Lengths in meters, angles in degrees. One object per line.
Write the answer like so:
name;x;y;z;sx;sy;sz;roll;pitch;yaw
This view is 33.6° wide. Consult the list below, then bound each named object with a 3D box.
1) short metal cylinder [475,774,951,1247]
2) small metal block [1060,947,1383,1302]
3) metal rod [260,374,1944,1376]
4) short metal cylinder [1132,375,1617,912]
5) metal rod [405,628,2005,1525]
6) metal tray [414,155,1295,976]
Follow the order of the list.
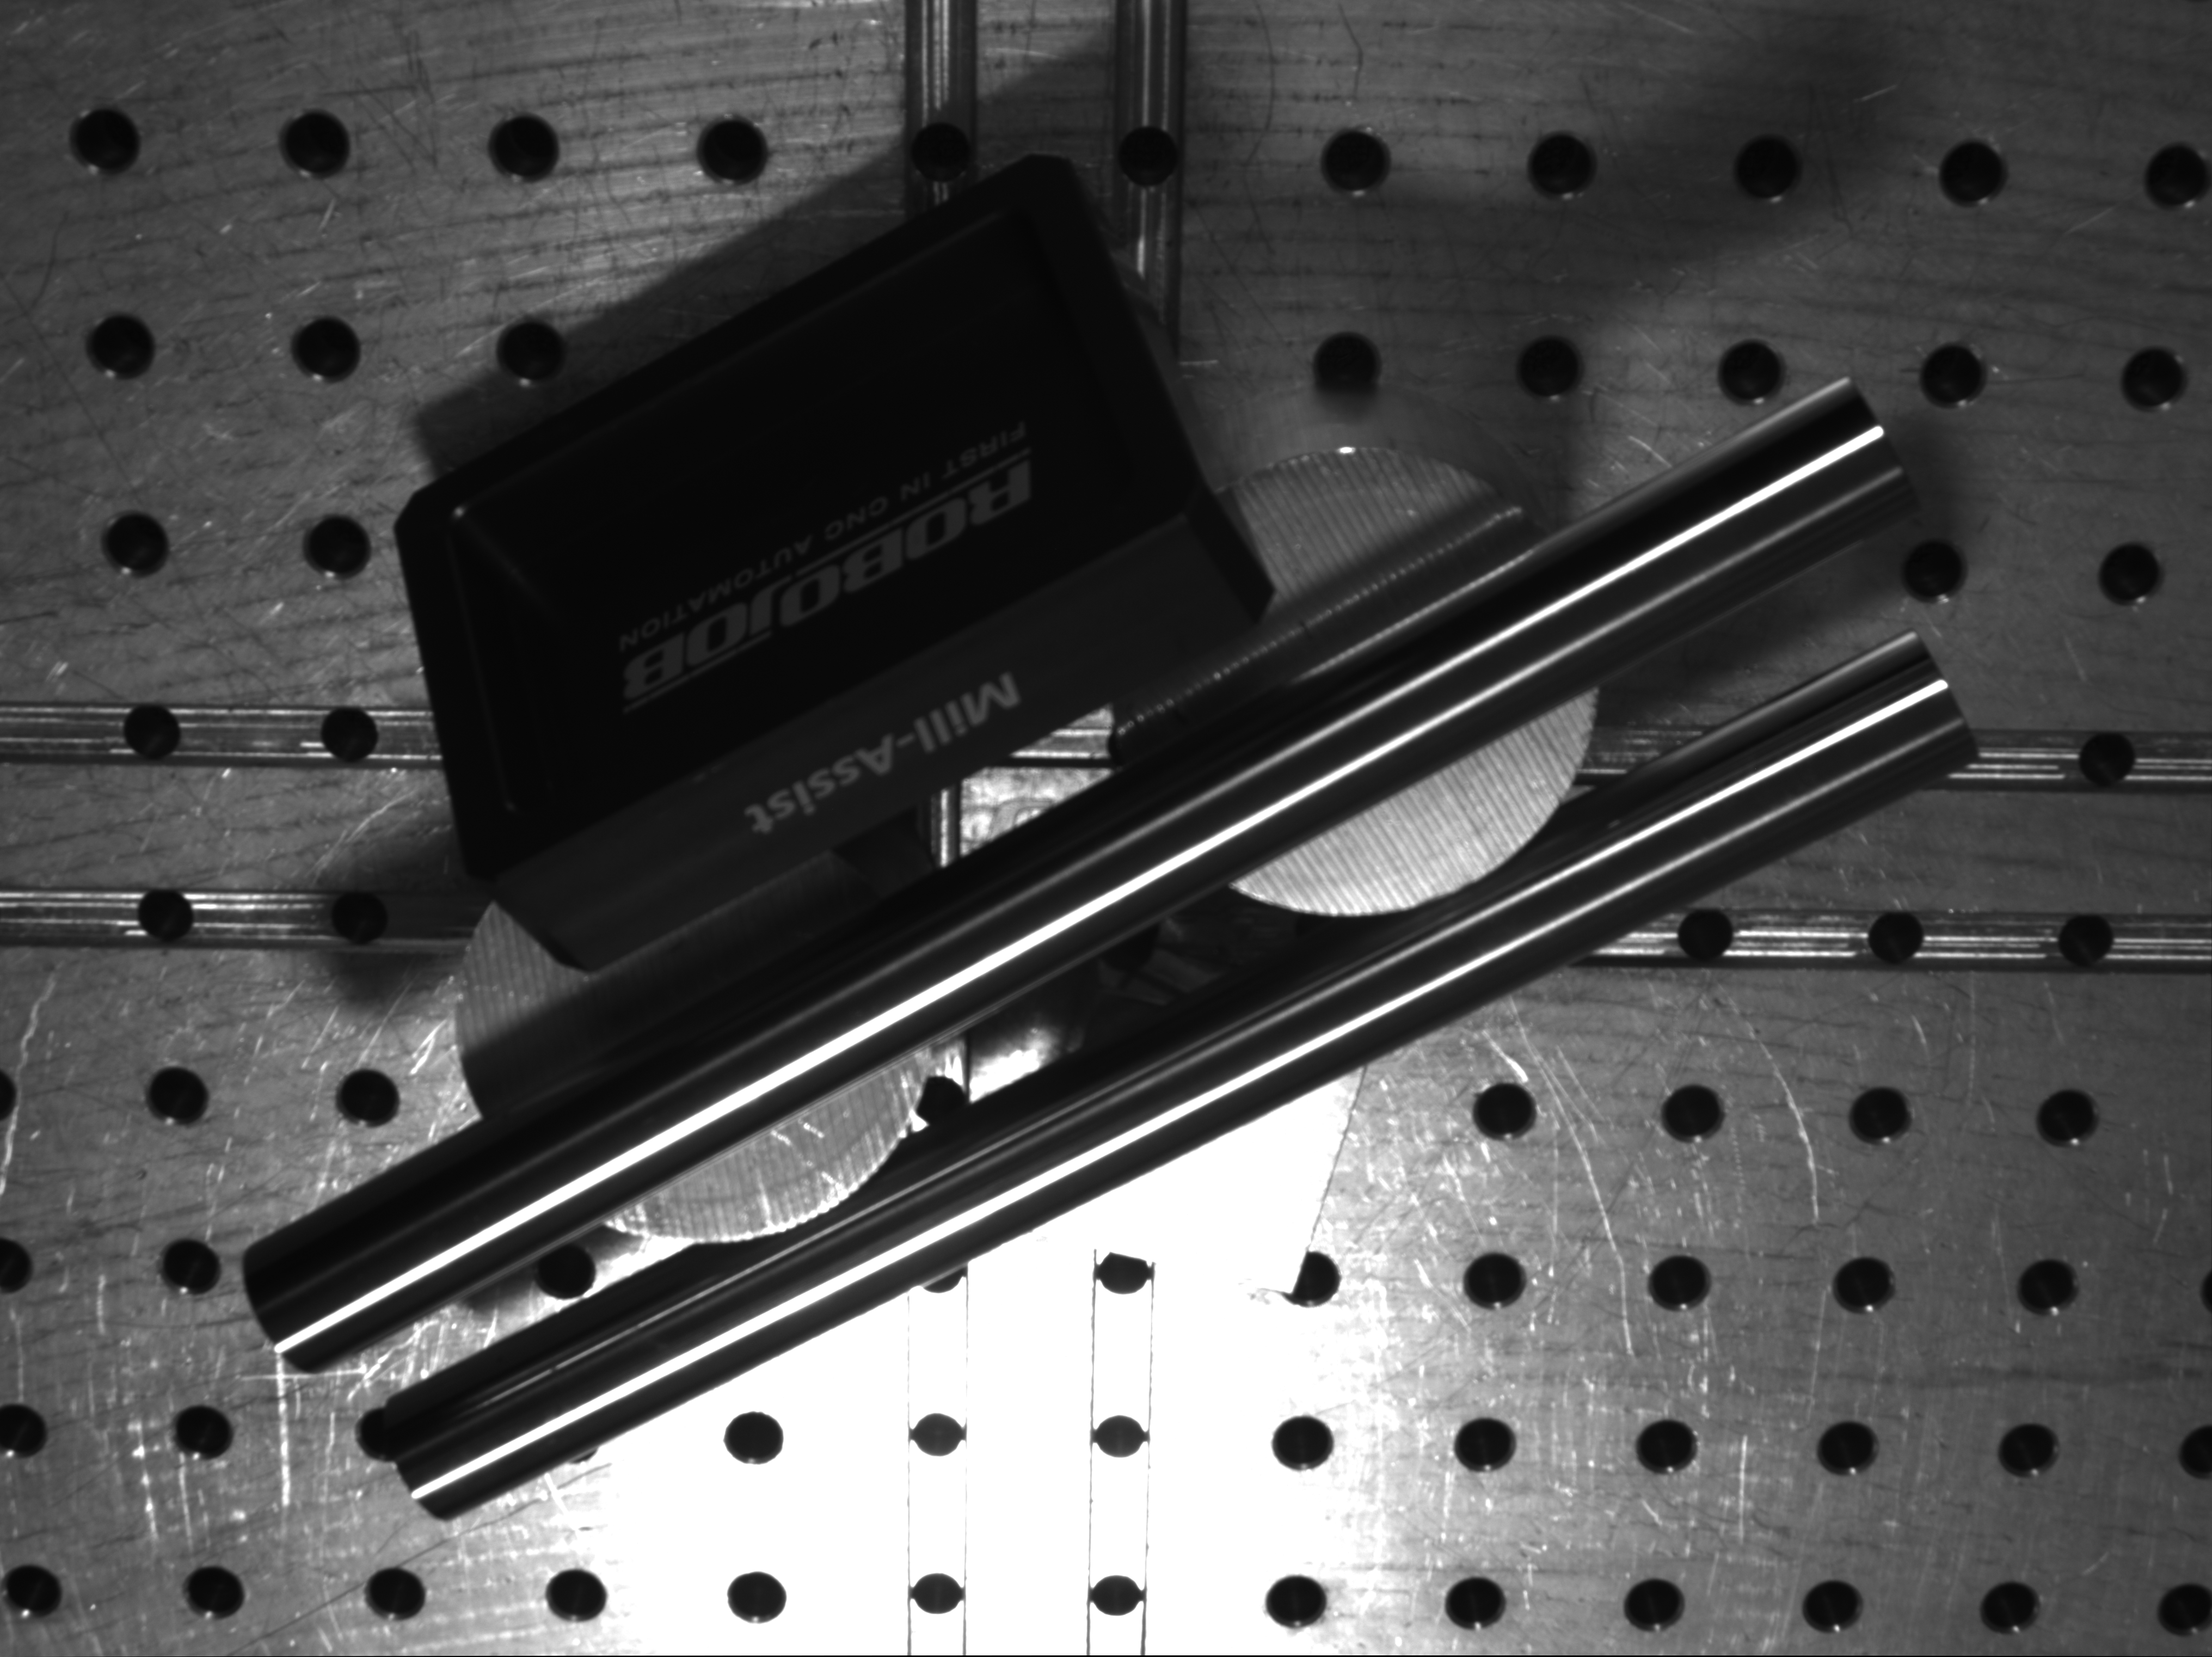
short metal cylinder;-0.066;0.026;0.641;0.080;0.050;0.080;0;110;-1
small metal block;0.020;0.053;0.664;0.050;0.025;0.050;14;109;-6
metal rod;-0.005;0.011;0.595;0.300;0.025;0.025;-28;108;9
short metal cylinder;0.044;-0.032;0.622;0.080;0.050;0.080;0;110;-1
metal rod;0.013;0.045;0.635;0.300;0.025;0.025;-27;108;9
metal tray;-0.044;-0.044;0.593;0.130;0.090;0.030;-27;140;9
